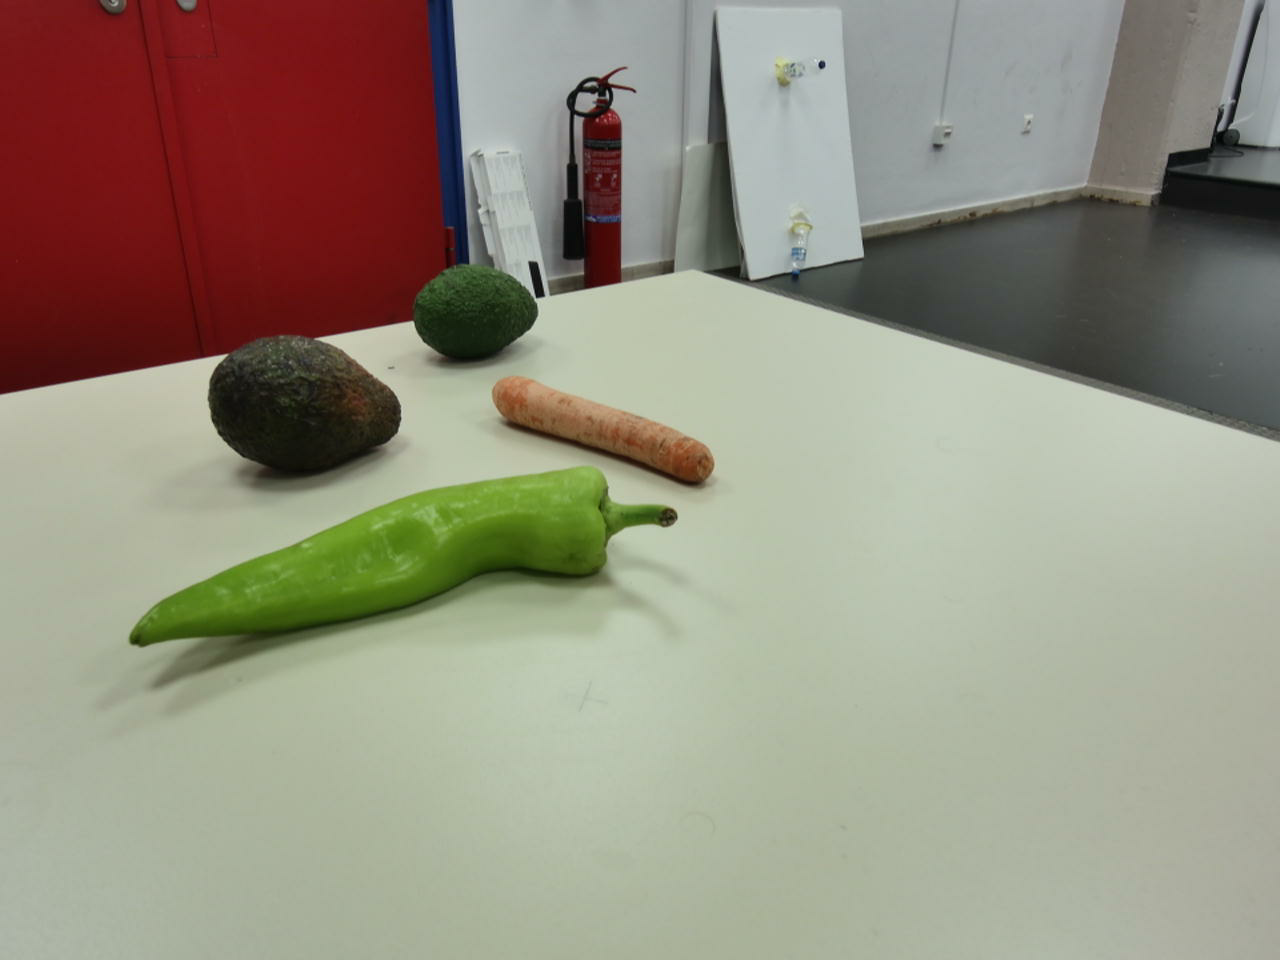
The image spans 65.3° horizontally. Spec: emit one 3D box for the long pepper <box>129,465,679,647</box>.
[{"bbox_3d":[-0.090,0.028,0.399,0.204,0.045,0.065,-10,25,-21],"label":"long pepper"}]
